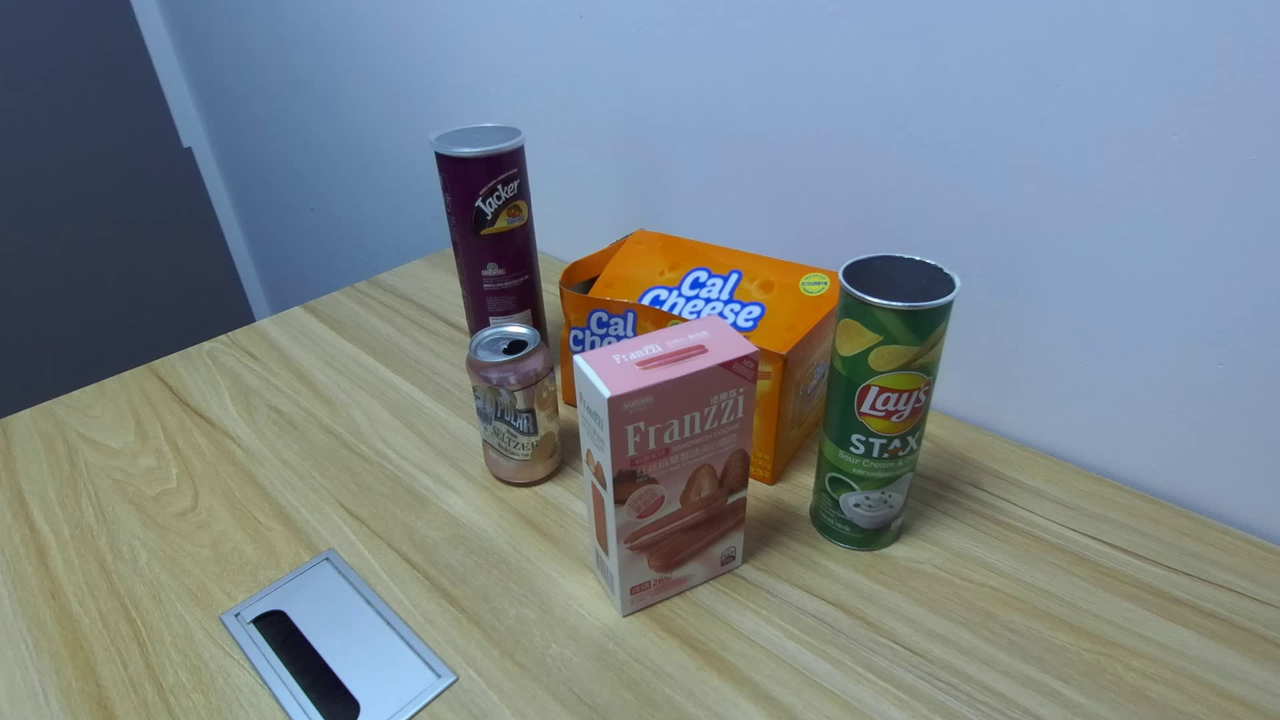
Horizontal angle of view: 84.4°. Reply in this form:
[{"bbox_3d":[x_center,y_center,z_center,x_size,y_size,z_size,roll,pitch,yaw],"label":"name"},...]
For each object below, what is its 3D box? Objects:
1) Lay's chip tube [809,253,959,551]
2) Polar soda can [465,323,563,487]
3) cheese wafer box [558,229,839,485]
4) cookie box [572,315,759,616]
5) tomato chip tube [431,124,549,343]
[{"bbox_3d":[0.157,0.033,0.473,0.071,0.203,0.071,-2,34,2],"label":"Lay's chip tube"},{"bbox_3d":[-0.099,0.038,0.565,0.067,0.122,0.074,-8,31,-9],"label":"Polar soda can"},{"bbox_3d":[0.051,-0.013,0.626,0.229,0.132,0.152,19,40,29],"label":"cheese wafer box"},{"bbox_3d":[0.018,0.071,0.444,0.096,0.185,0.048,-17,37,-21],"label":"cookie box"},{"bbox_3d":[-0.133,-0.088,0.658,0.078,0.234,0.078,-2,32,1],"label":"tomato chip tube"}]
